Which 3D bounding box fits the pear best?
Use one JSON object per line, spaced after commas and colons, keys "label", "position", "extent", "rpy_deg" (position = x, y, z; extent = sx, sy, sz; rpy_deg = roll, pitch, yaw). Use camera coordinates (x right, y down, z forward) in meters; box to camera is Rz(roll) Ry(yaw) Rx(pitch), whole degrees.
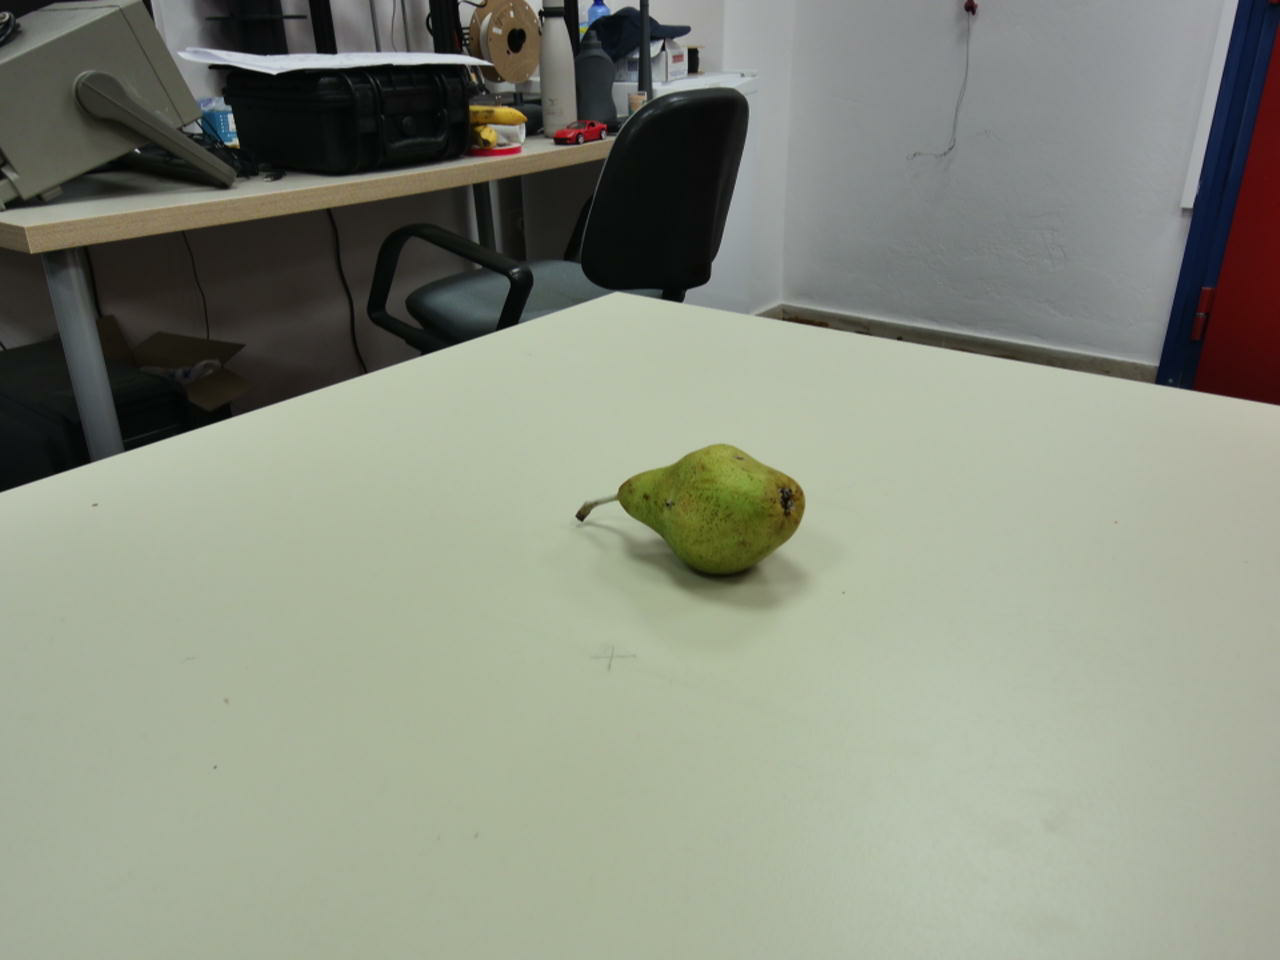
{"label": "pear", "position": [0.023, 0.008, 0.452], "extent": [0.056, 0.056, 0.111], "rpy_deg": [-16, 27, -33]}
